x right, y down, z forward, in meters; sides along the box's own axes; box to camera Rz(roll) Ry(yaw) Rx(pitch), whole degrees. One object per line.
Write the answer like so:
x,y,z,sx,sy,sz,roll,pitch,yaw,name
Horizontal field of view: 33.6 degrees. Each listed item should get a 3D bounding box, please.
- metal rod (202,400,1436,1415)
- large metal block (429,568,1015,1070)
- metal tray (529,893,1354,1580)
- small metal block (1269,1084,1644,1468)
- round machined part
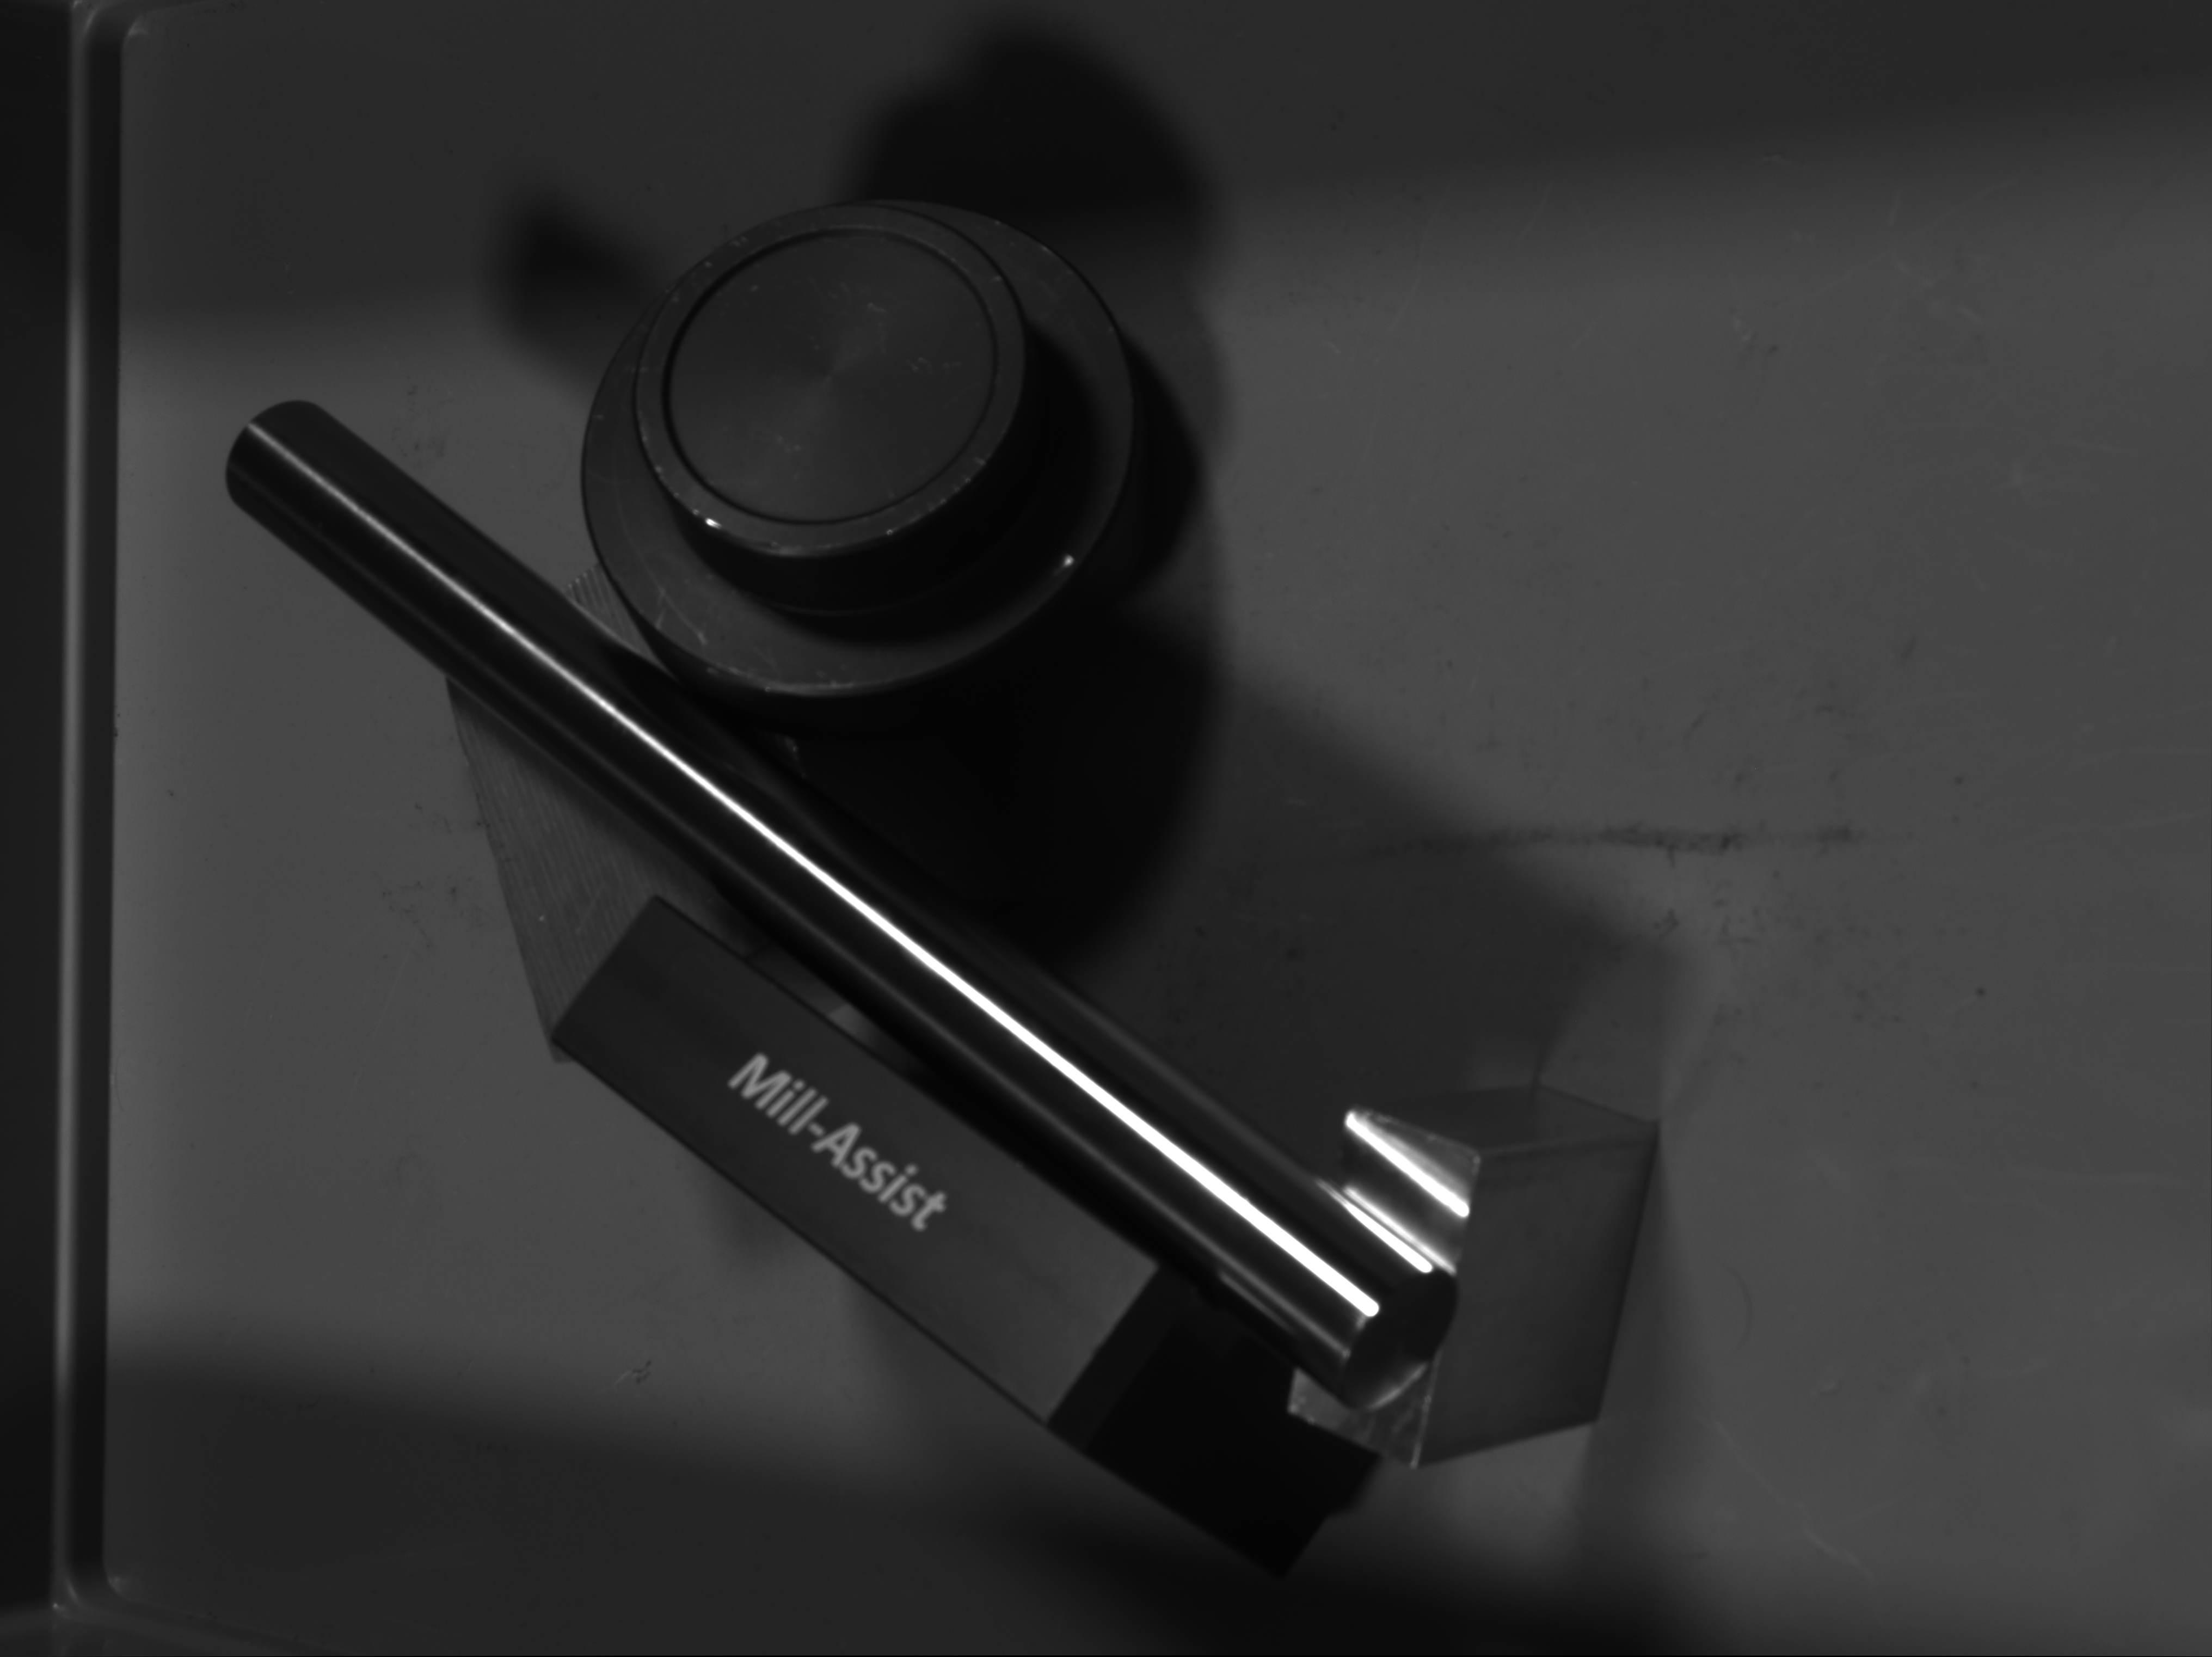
-0.061,0.002,0.619,0.299,0.025,0.025,36,112,34,metal rod
-0.073,-0.008,0.678,0.080,0.050,0.080,-28,72,36,large metal block
-0.027,0.067,0.610,0.130,0.090,0.030,33,82,34,metal tray
0.055,0.069,0.573,0.025,0.050,0.050,18,101,38,small metal block
-0.046,-0.067,0.628,0.098,0.042,0.098,-3,65,7,round machined part
